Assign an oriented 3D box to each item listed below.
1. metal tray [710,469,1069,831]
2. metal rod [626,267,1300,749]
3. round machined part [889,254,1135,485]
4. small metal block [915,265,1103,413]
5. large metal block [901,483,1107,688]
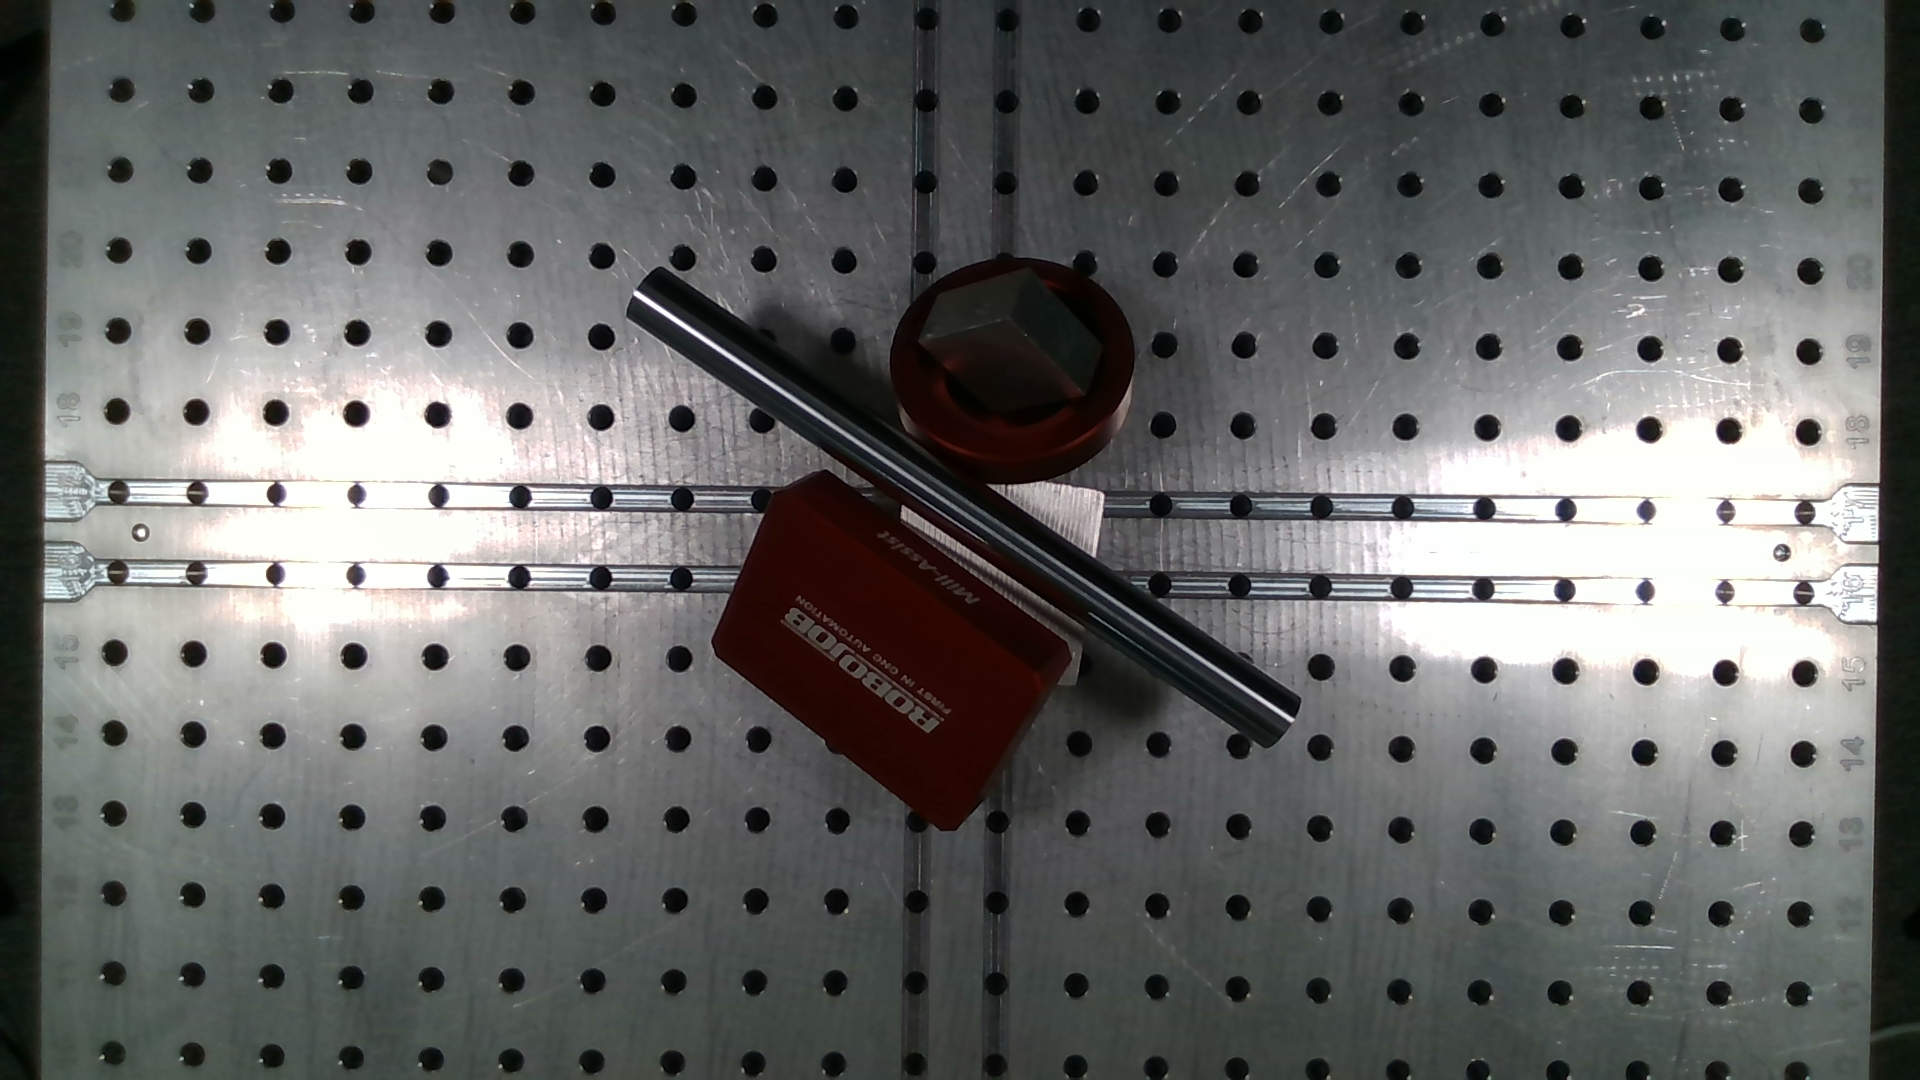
[{"bbox_3d":[-0.031,0.044,0.554,0.130,0.030,0.090,36,122,13],"label":"metal tray"},{"bbox_3d":[0.001,-0.013,0.539,0.300,0.025,0.025,34,90,0],"label":"metal rod"},{"bbox_3d":[0.021,-0.065,0.567,0.098,0.042,0.098,-1,65,2],"label":"round machined part"},{"bbox_3d":[0.020,-0.078,0.548,0.050,0.050,0.025,41,59,-35],"label":"small metal block"},{"bbox_3d":[0.013,0.014,0.577,0.080,0.050,0.080,9,90,0],"label":"large metal block"}]
